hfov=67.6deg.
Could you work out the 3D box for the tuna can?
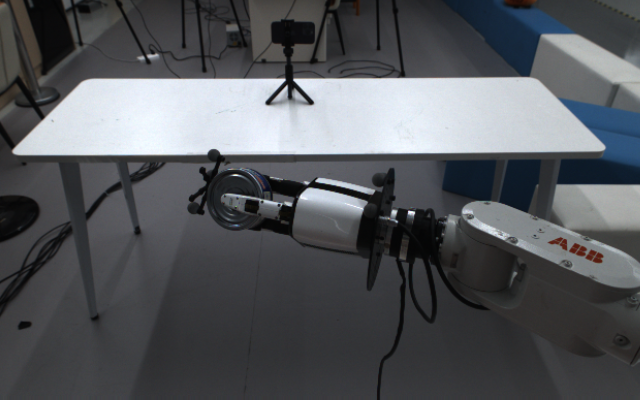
[{"bbox_3d":[-0.108,-0.003,0.658,0.085,0.085,0.034,12,5,14],"label":"tuna can"}]
